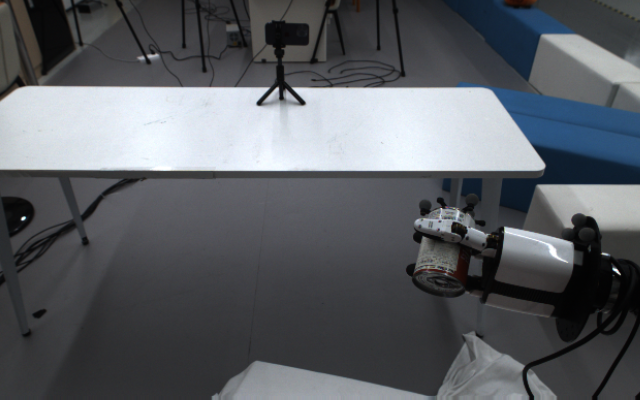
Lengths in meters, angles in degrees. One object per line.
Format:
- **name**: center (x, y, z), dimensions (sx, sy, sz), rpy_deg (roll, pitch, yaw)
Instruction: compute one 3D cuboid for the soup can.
- **soup can**: center (0.166, 0.065, 0.642), dimensions (0.067, 0.067, 0.101), rpy_deg (12, 59, 14)
